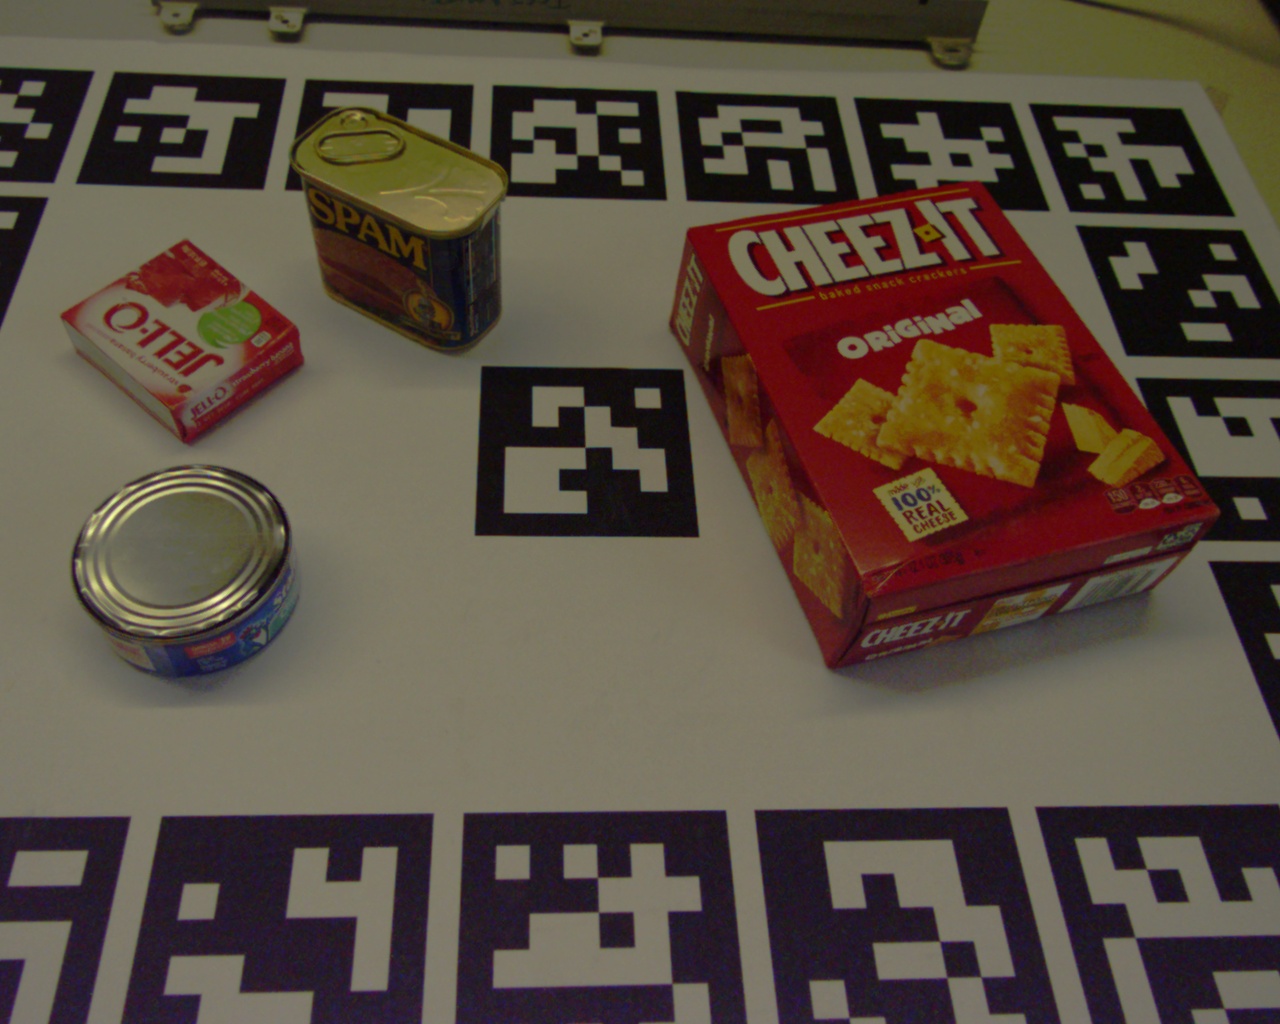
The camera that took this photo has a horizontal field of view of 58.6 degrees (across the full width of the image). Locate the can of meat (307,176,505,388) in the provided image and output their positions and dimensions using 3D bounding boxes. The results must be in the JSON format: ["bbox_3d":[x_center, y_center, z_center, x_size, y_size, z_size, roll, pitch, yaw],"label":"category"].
[{"bbox_3d":[-0.124,-0.123,0.620,0.102,0.083,0.057,24,54,14],"label":"can of meat"}]

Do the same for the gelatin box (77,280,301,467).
[{"bbox_3d":[-0.235,-0.075,0.599,0.090,0.030,0.073,36,55,18],"label":"gelatin box"}]

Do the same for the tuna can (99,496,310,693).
[{"bbox_3d":[-0.193,0.037,0.512,0.085,0.033,0.086,1,56,-3],"label":"tuna can"}]

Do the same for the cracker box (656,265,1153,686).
[{"bbox_3d":[0.122,-0.035,0.578,0.163,0.072,0.215,-13,54,-16],"label":"cracker box"}]
